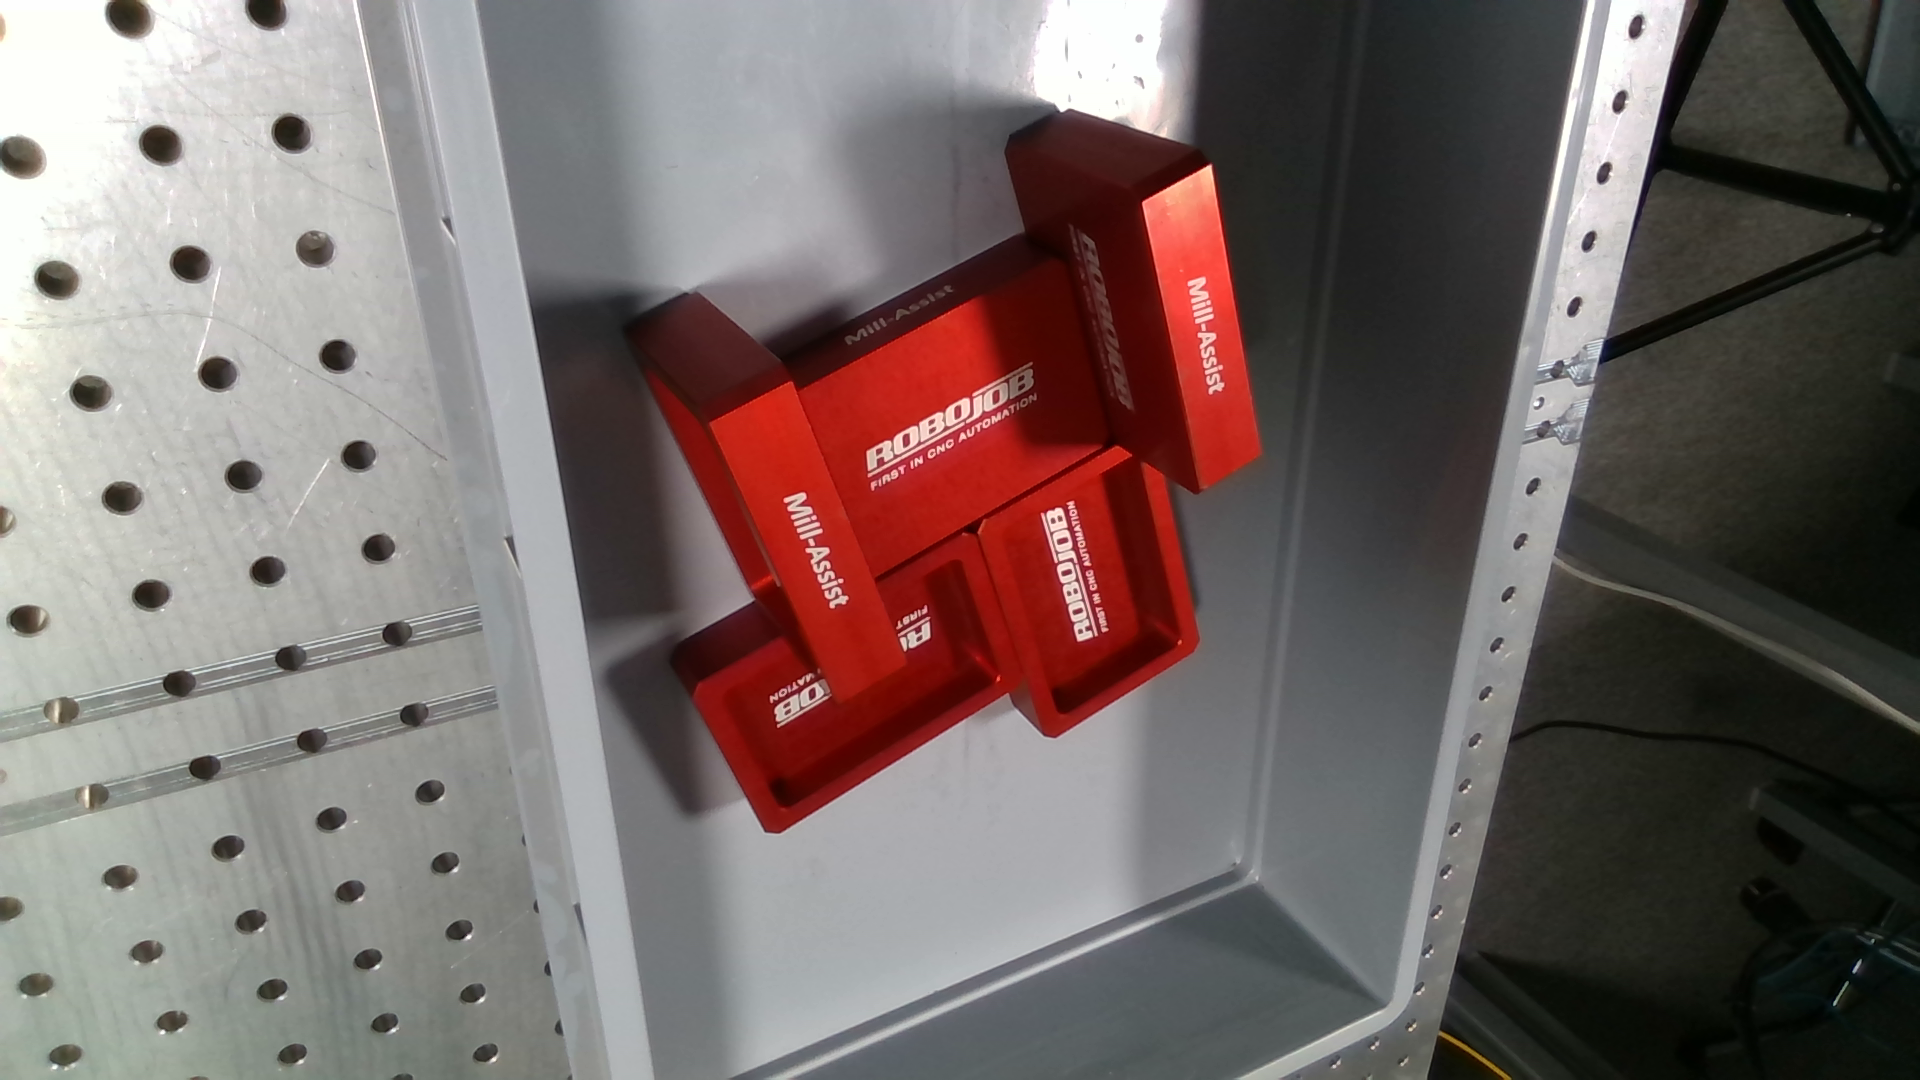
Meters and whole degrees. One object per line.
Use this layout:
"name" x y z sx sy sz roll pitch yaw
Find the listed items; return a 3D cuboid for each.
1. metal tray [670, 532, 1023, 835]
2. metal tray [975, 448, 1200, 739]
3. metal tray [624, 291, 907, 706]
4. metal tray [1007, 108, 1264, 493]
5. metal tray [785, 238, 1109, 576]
"metal tray" -0.044 0.054 0.578 0.130 0.030 0.090 -30 127 -15
"metal tray" 0.054 0.017 0.618 0.090 0.030 0.130 -30 127 -15
"metal tray" -0.068 -0.014 0.486 0.030 0.090 0.130 -30 127 -15
"metal tray" 0.068 -0.091 0.527 0.030 0.090 0.130 -30 127 -15
"metal tray" -0.010 -0.050 0.541 0.130 0.030 0.090 -30 127 -15
